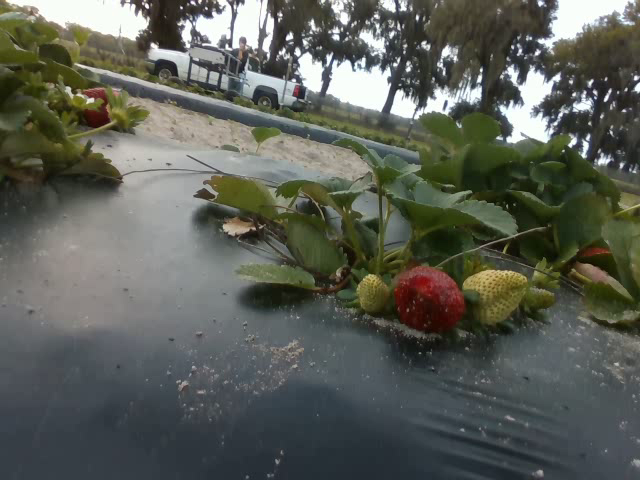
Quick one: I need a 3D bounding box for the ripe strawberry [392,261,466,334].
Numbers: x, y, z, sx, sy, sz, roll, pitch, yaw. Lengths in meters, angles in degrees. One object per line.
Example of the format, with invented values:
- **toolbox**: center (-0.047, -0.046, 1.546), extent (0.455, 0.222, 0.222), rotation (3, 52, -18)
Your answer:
- **ripe strawberry**: center (0.062, 0.034, 0.347), extent (0.046, 0.046, 0.059), rotation (8, -14, 9)
